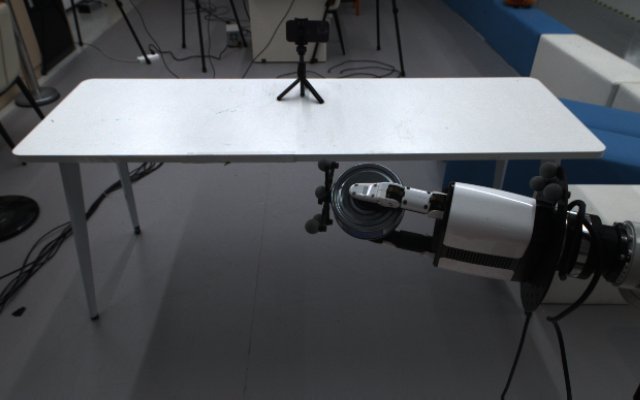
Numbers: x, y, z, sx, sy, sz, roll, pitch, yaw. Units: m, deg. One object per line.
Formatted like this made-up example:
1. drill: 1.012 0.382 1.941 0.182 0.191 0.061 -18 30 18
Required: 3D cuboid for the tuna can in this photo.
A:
1. tuna can: 0.059 0.003 0.558 0.085 0.034 0.085 -2 69 6
